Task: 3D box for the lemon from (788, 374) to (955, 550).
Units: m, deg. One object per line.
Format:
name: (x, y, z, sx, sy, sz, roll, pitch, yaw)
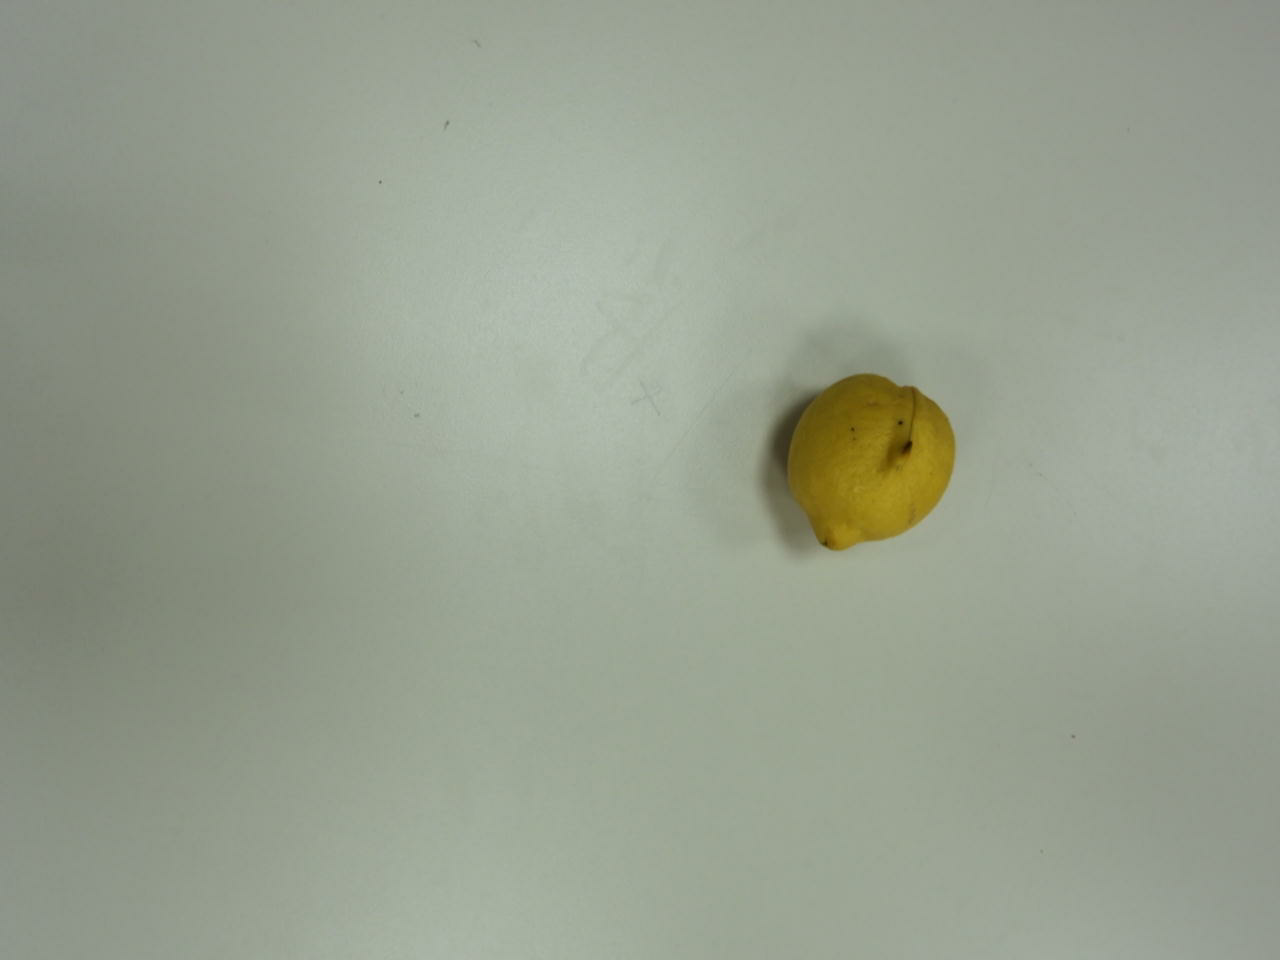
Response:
lemon: (0.098, -0.009, 0.425, 0.071, 0.071, 0.070, -24, 95, -10)
